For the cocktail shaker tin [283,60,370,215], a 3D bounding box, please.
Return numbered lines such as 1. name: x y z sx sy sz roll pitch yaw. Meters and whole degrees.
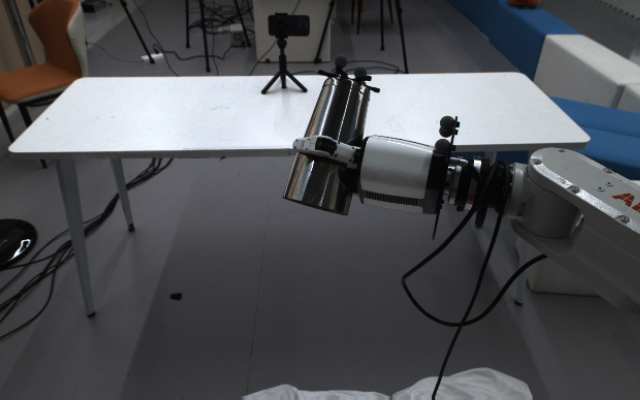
1. cocktail shaker tin: 0.016 -0.073 0.655 0.093 0.170 0.093 15 -4 1
